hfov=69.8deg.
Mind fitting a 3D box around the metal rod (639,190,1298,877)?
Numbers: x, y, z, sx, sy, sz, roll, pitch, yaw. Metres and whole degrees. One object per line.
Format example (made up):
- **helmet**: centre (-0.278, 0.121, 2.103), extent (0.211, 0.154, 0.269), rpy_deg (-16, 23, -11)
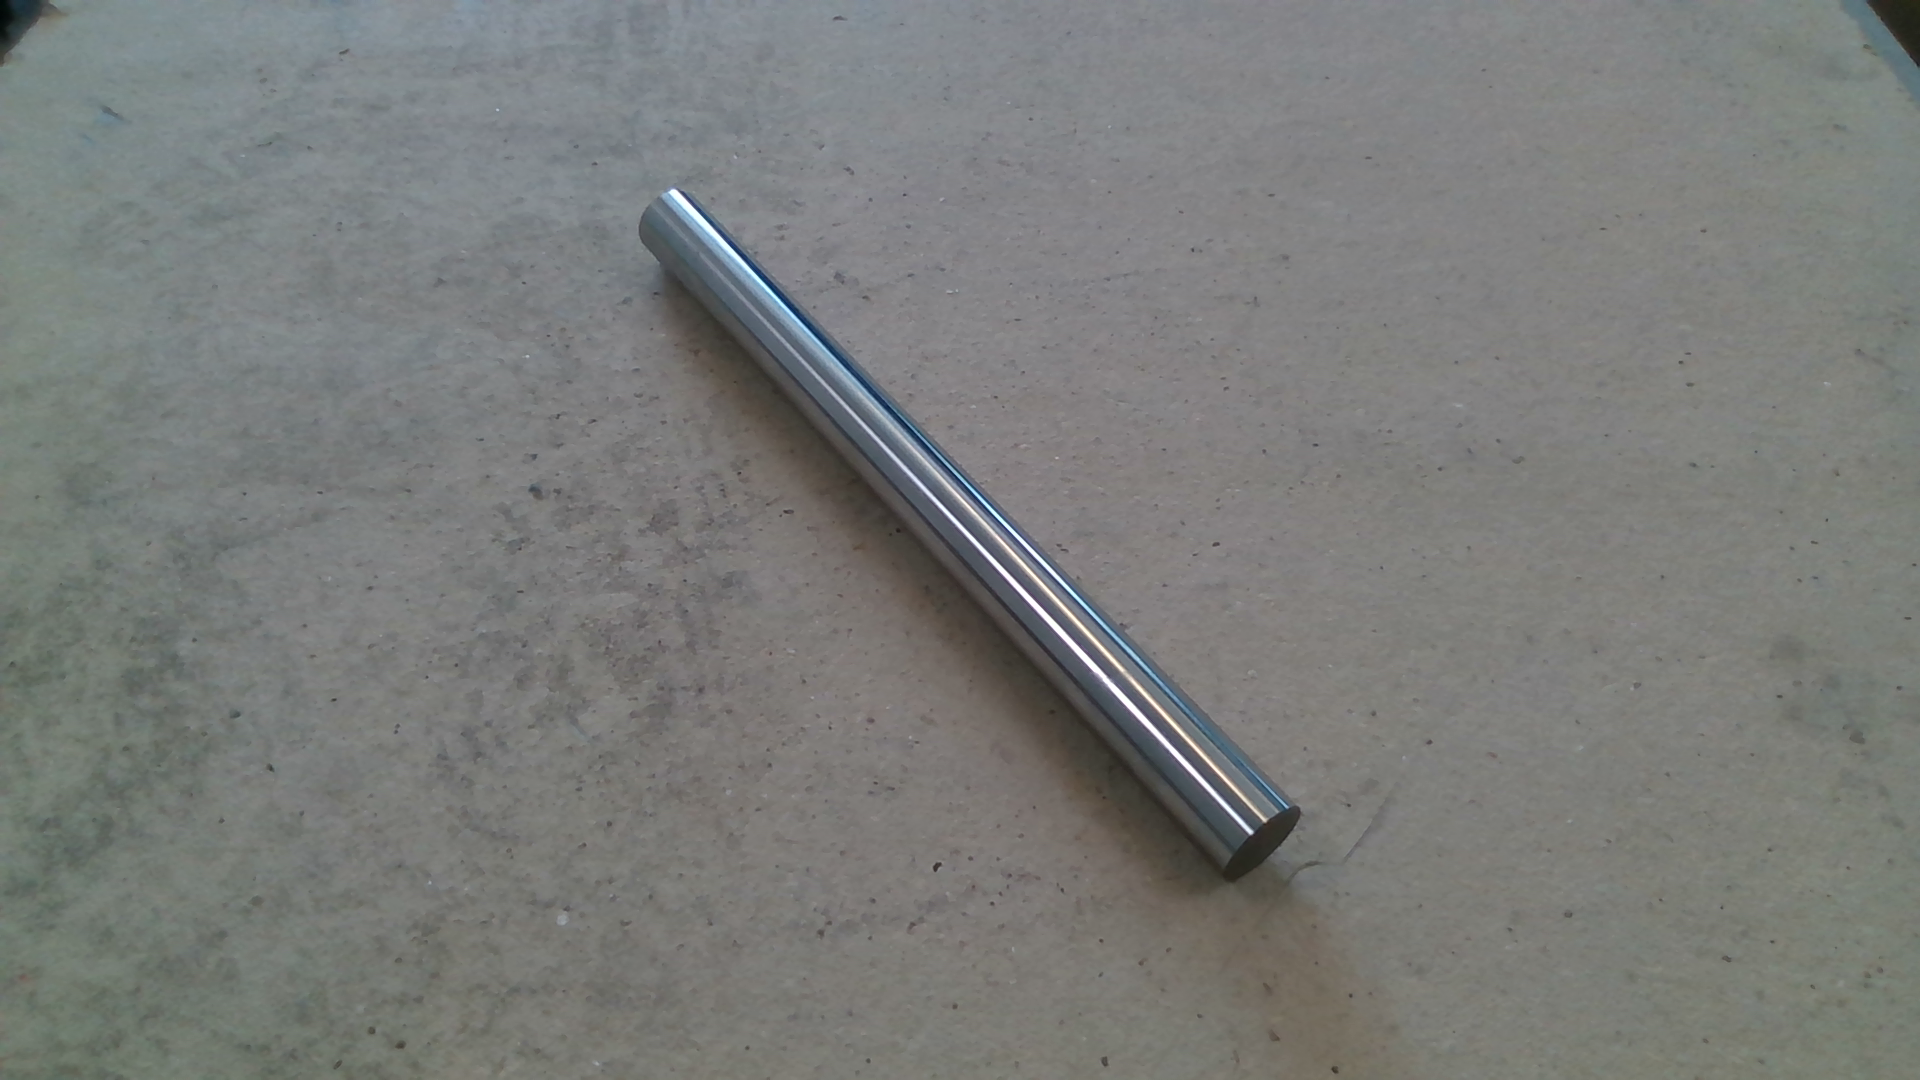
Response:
- **metal rod**: centre (-0.015, -0.020, 0.411), extent (0.025, 0.025, 0.299), rpy_deg (-29, 56, -22)
